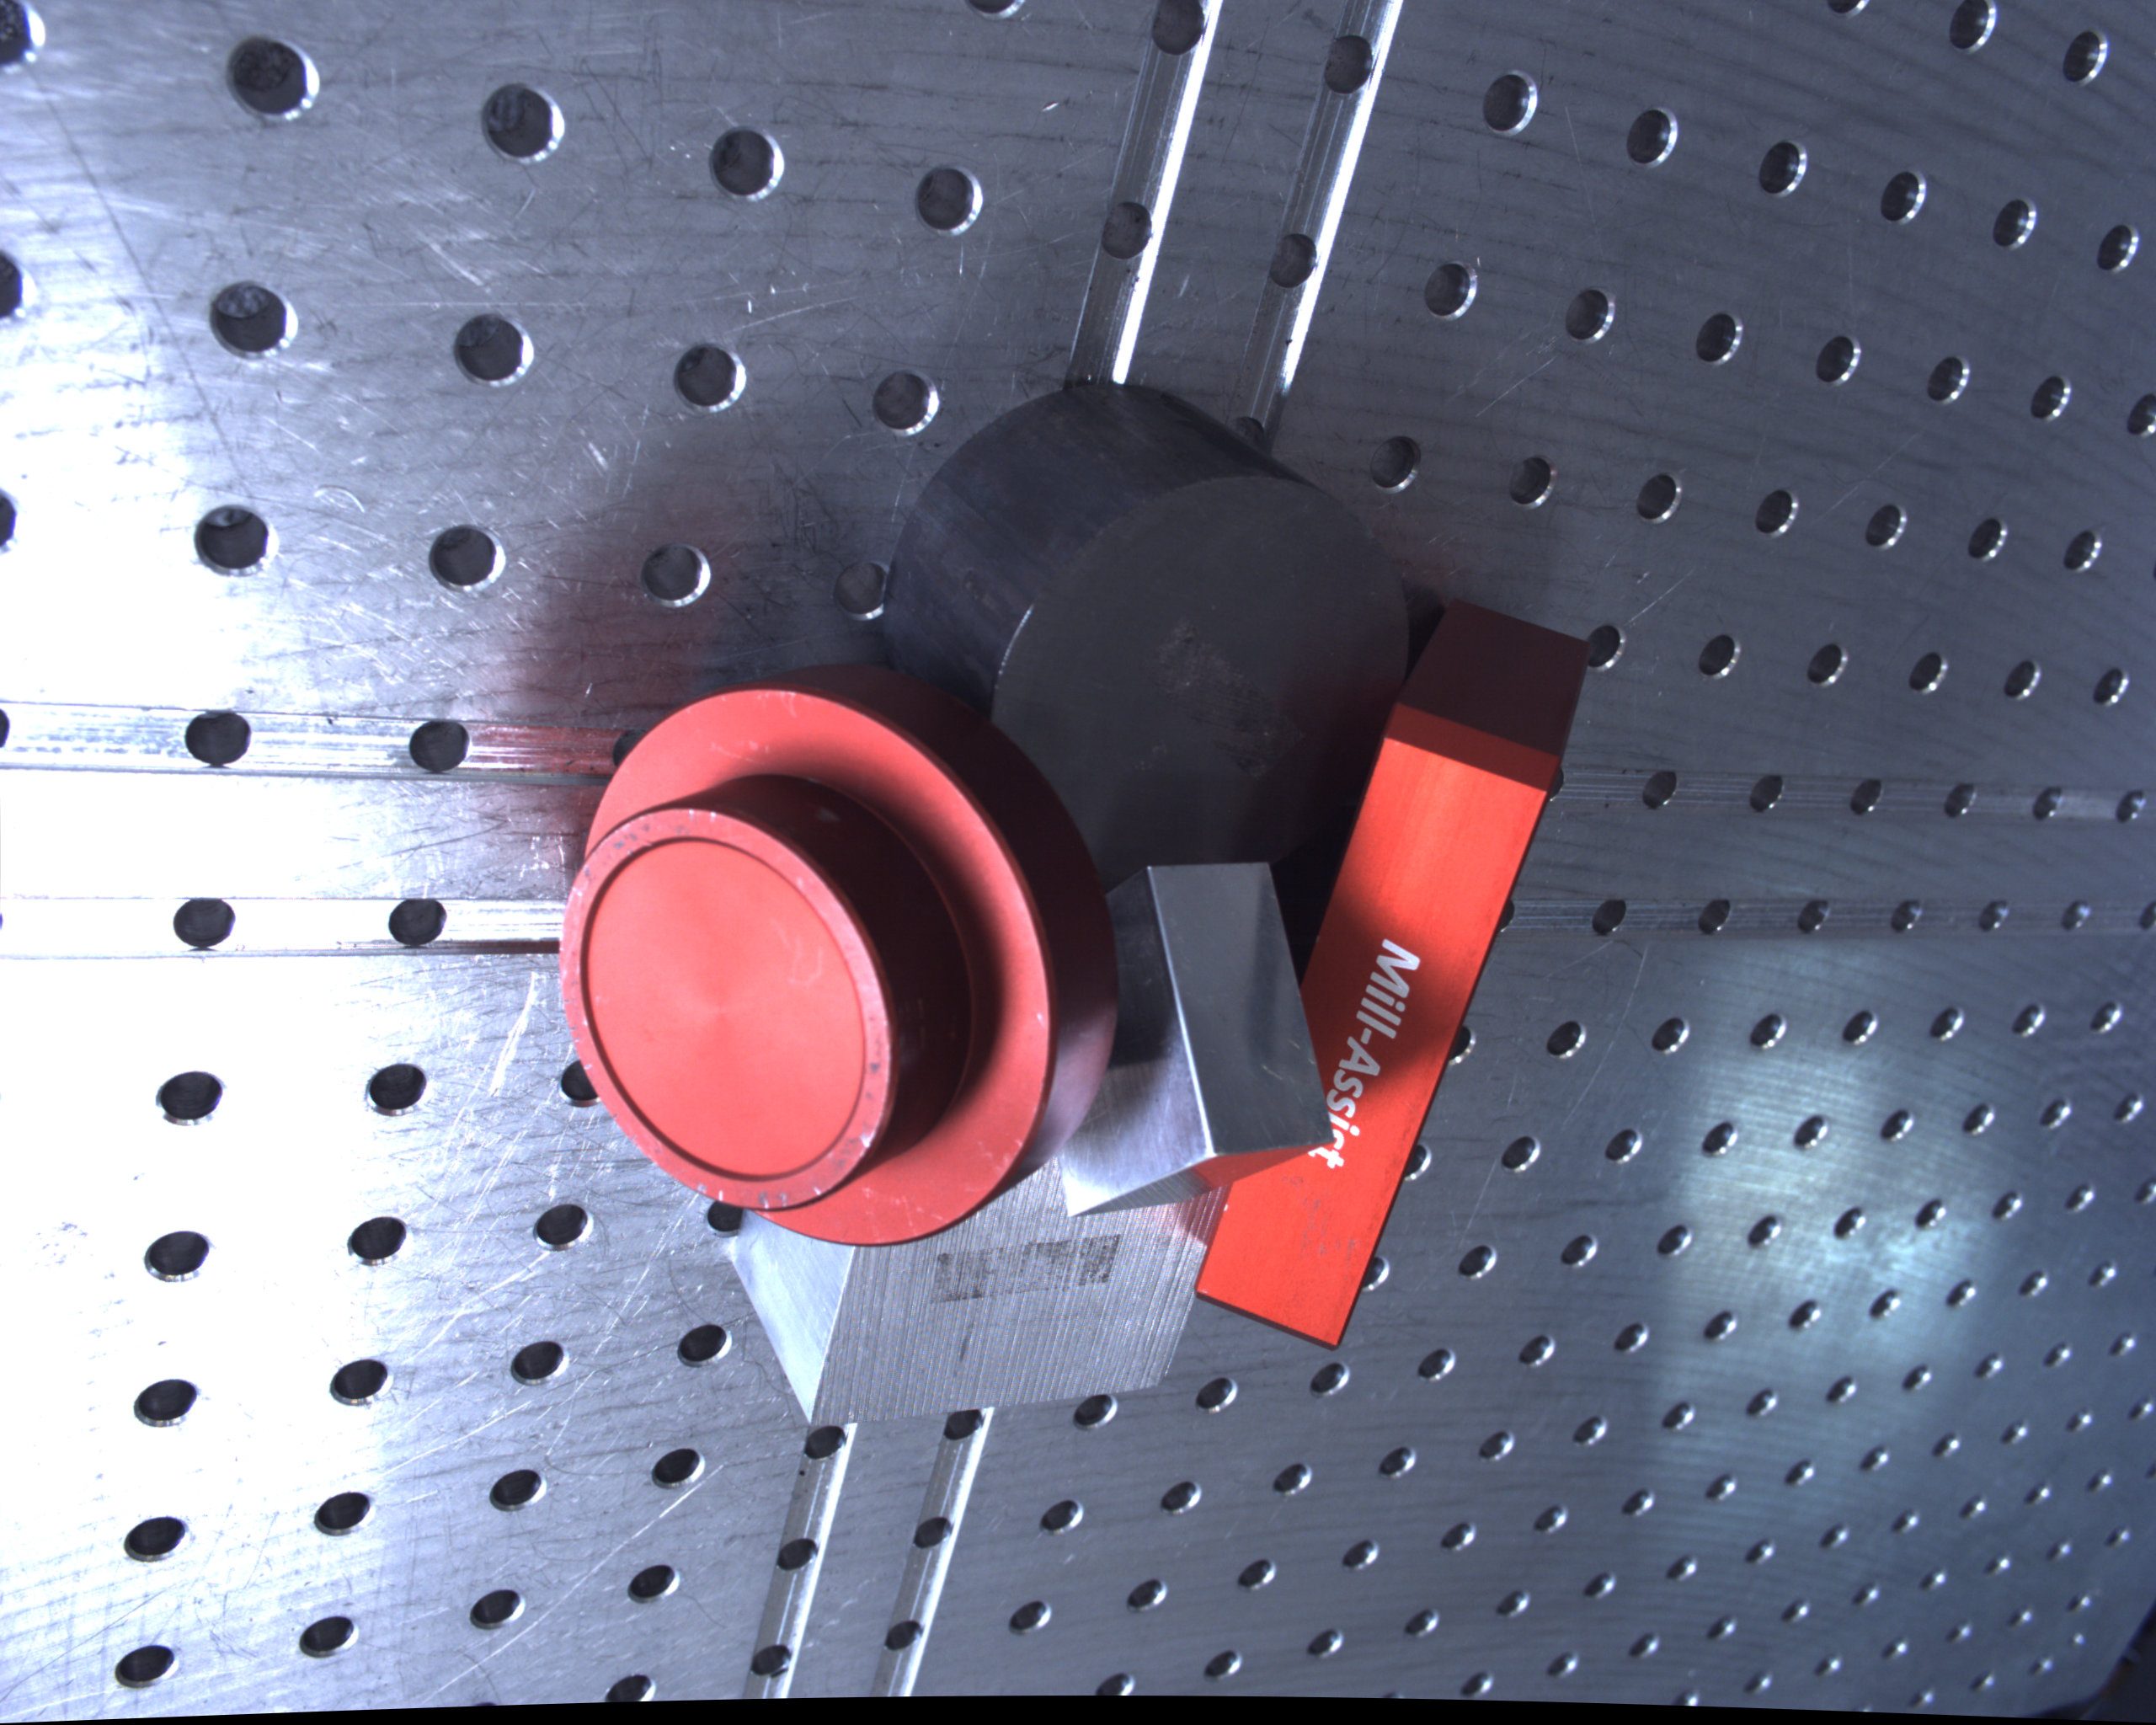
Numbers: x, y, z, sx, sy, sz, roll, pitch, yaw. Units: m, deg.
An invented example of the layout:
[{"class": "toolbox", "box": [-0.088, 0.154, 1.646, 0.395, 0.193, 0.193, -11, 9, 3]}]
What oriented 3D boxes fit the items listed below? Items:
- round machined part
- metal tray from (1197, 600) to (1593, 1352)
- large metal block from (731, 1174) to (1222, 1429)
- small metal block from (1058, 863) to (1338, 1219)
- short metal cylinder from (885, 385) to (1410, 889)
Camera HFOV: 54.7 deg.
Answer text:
[{"class": "round machined part", "box": [-0.046, 0.019, 0.345, 0.042, 0.098, 0.097, -26, 137, -56]}, {"class": "metal tray", "box": [0.064, 0.021, 0.419, 0.030, 0.090, 0.129, 20, 115, 10]}, {"class": "large metal block", "box": [-0.017, 0.063, 0.424, 0.081, 0.050, 0.079, 2, 118, -30]}, {"class": "small metal block", "box": [0.016, 0.032, 0.368, 0.025, 0.050, 0.050, -2, 162, -31]}, {"class": "short metal cylinder", "box": [0.012, -0.040, 0.376, 0.081, 0.050, 0.079, -14, 124, -21]}]
